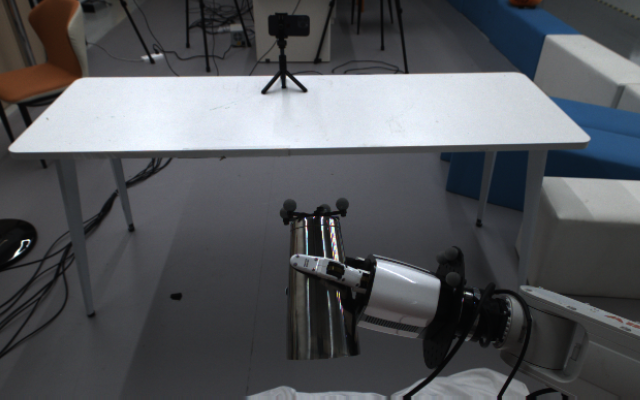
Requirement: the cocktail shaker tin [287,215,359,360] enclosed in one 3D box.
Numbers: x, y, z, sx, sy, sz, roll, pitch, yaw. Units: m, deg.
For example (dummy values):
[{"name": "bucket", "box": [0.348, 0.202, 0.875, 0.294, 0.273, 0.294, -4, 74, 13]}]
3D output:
[{"name": "cocktail shaker tin", "box": [-0.001, 0.112, 0.619, 0.093, 0.093, 0.170, -3, 76, -7]}]
